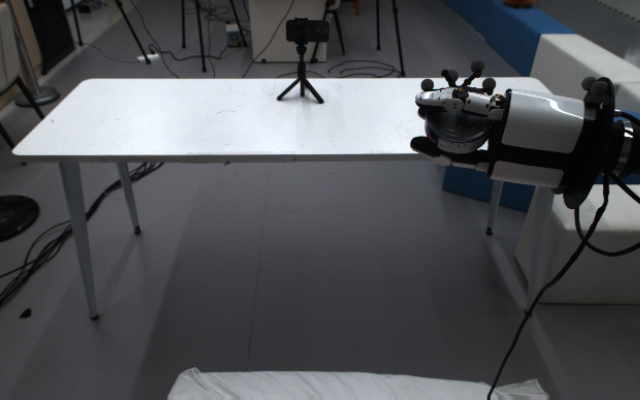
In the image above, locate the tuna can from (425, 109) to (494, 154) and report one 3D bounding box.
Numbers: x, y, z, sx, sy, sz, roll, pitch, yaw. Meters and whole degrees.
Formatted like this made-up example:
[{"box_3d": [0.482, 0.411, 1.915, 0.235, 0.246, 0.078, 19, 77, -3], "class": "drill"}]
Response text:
[{"box_3d": [0.178, -0.105, 0.624, 0.085, 0.034, 0.085, -4, 61, 7], "class": "tuna can"}]
